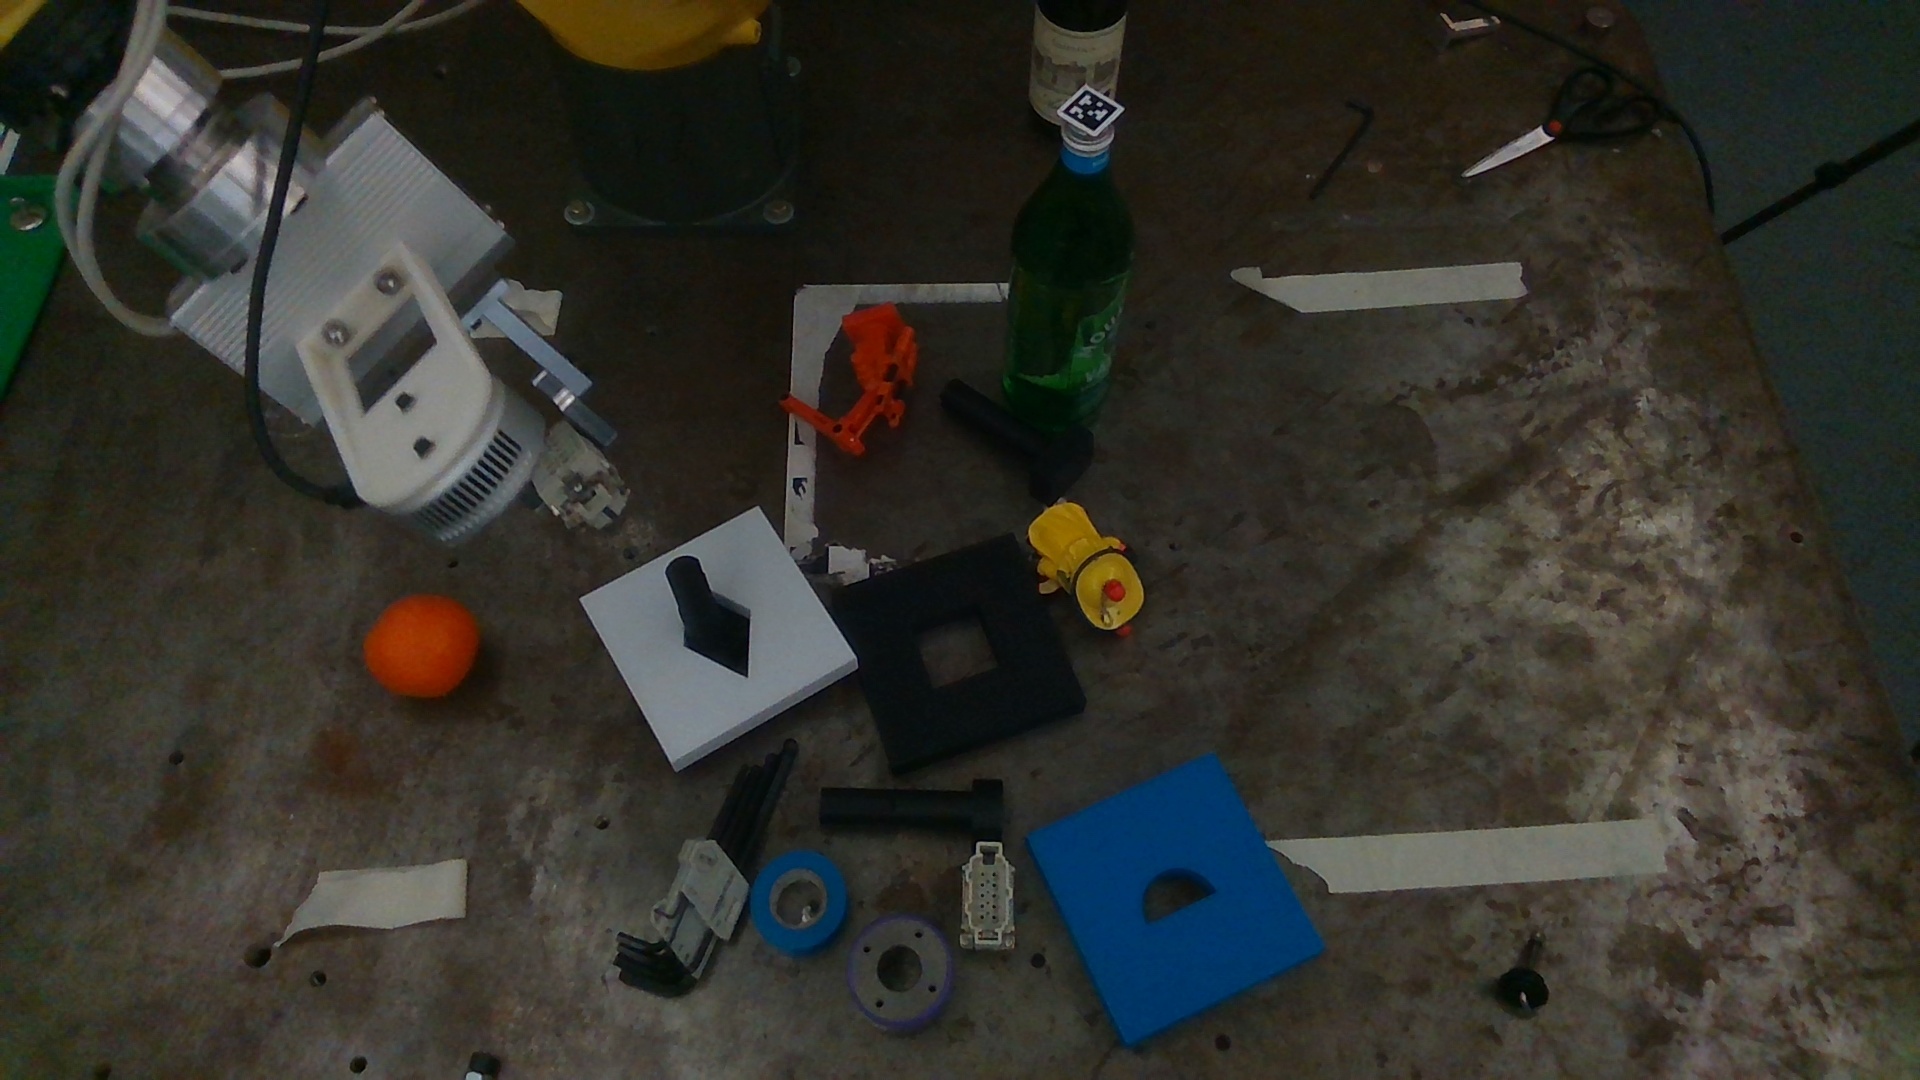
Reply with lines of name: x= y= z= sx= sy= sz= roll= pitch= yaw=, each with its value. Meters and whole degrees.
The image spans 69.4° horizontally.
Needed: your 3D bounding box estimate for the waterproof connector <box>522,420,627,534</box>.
waterproof connector: x=-0.188 y=-0.030 z=0.684 sx=0.037 sy=0.038 sz=0.069 roll=-47 pitch=32 yaw=-2
